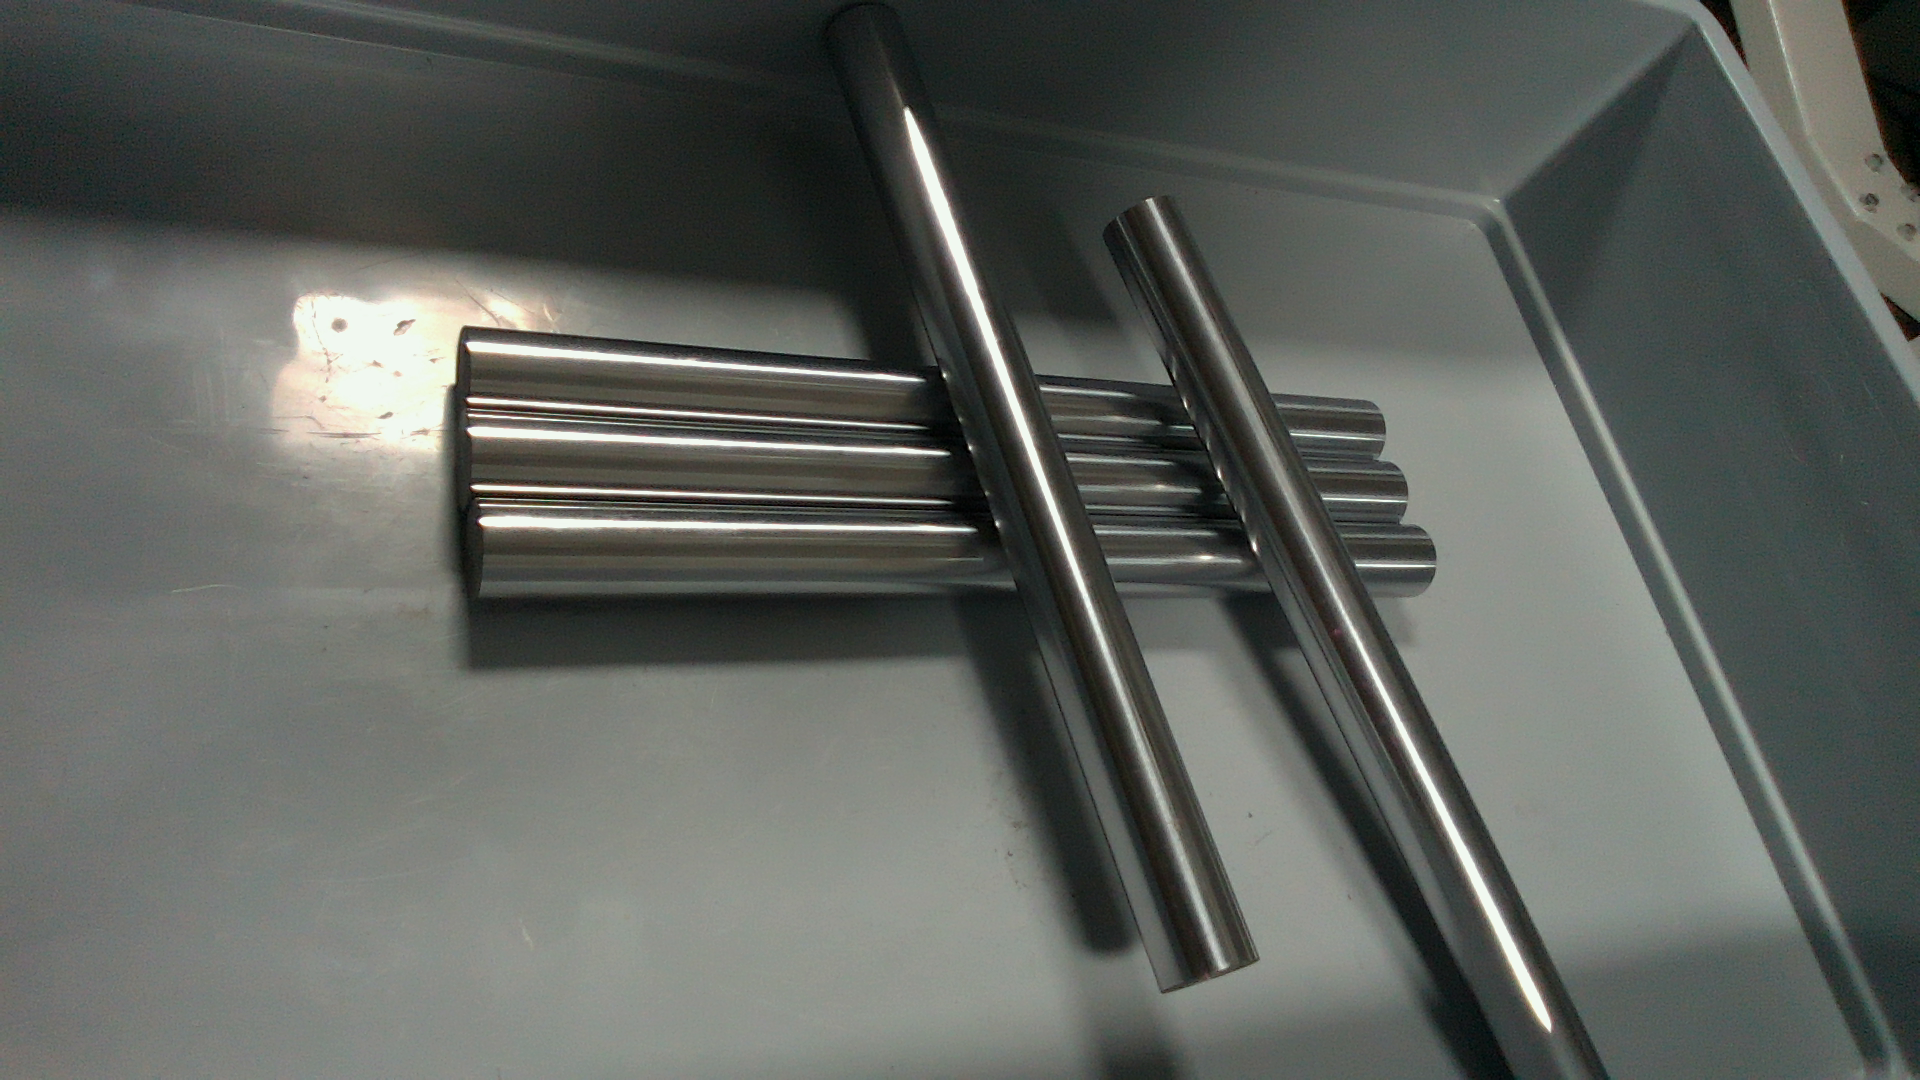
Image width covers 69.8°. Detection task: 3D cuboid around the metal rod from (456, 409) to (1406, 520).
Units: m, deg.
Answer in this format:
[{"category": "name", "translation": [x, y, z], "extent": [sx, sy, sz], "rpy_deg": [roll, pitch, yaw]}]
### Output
[{"category": "metal rod", "translation": [0.012, -0.018, 0.406], "extent": [0.301, 0.025, 0.025], "rpy_deg": [1, 61, -28]}]

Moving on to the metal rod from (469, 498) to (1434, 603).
[{"category": "metal rod", "translation": [0.018, 0.005, 0.395], "extent": [0.301, 0.025, 0.025], "rpy_deg": [1, 61, -28]}]

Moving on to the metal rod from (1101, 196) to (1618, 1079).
[{"category": "metal rod", "translation": [0.116, 0.034, 0.404], "extent": [0.025, 0.025, 0.300], "rpy_deg": [-17, 77, -35]}]

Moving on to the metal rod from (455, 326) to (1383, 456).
[{"category": "metal rod", "translation": [0.008, -0.039, 0.417], "extent": [0.301, 0.025, 0.025], "rpy_deg": [1, 61, -28]}]

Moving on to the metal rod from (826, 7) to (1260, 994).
[{"category": "metal rod", "translation": [0.014, -0.028, 0.381], "extent": [0.025, 0.025, 0.300], "rpy_deg": [-5, 64, -30]}]
